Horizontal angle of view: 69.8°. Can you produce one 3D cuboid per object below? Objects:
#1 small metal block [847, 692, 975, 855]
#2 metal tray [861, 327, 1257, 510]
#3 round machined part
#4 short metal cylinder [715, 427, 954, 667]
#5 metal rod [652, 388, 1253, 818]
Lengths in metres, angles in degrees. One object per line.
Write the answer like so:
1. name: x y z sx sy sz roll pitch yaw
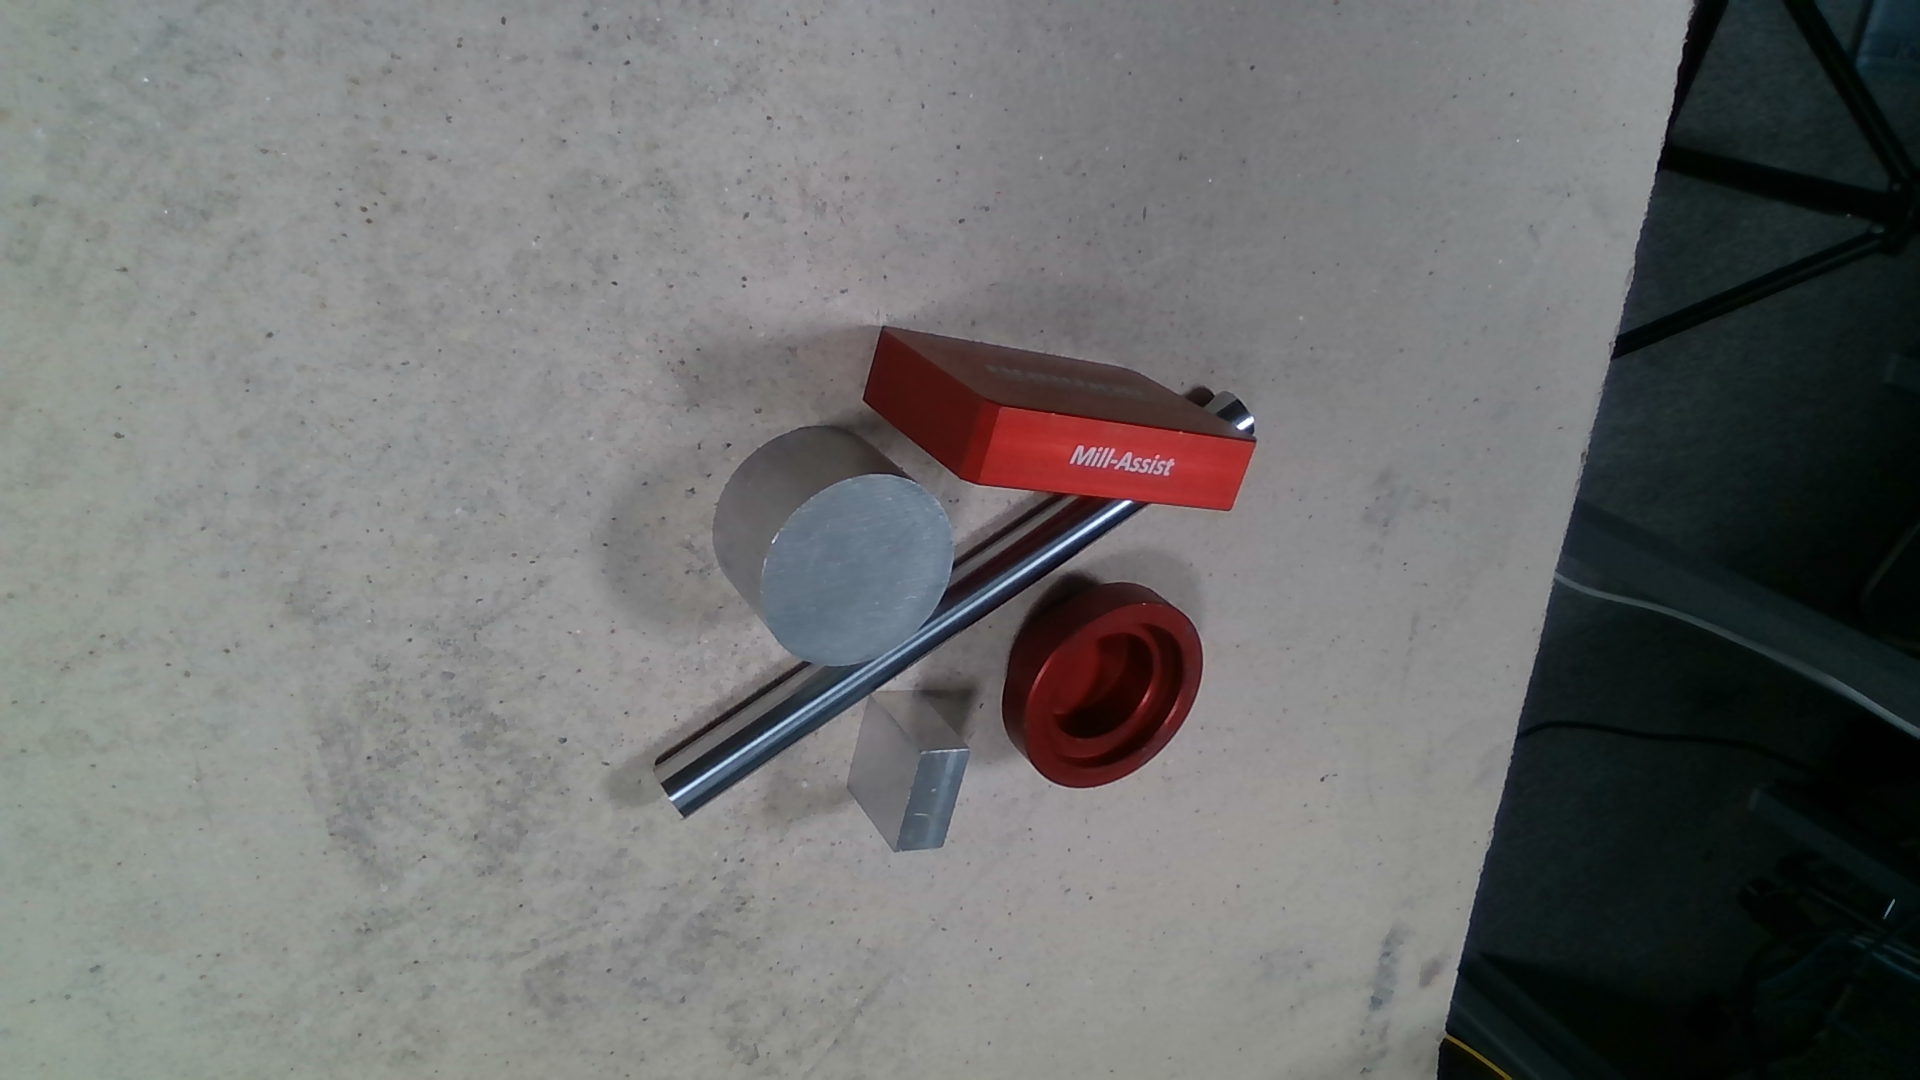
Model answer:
1. small metal block: -0.022 0.101 0.602 0.025 0.050 0.050 2 113 -32
2. metal tray: 0.039 -0.047 0.537 0.130 0.090 0.030 4 112 -33
3. round machined part: 0.061 0.063 0.641 0.098 0.042 0.098 -14 122 -25
4. short metal cylinder: -0.050 0.002 0.535 0.080 0.050 0.080 -14 122 -25
5. metal rod: 0.003 0.023 0.596 0.300 0.025 0.025 -34 128 -12
